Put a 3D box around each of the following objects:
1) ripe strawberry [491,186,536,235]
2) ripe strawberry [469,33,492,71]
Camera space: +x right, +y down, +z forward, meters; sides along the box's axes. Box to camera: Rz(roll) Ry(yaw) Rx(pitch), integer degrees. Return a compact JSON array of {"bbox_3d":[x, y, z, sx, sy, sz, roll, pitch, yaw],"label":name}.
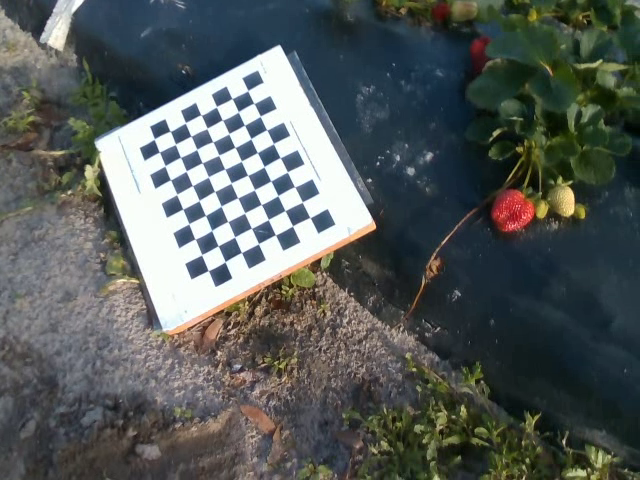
[{"bbox_3d":[0.211,-0.042,0.699,0.047,0.050,0.035,39,-13,22],"label":"ripe strawberry"},{"bbox_3d":[0.220,-0.275,0.886,0.058,0.071,0.057,-19,3,5],"label":"ripe strawberry"}]
